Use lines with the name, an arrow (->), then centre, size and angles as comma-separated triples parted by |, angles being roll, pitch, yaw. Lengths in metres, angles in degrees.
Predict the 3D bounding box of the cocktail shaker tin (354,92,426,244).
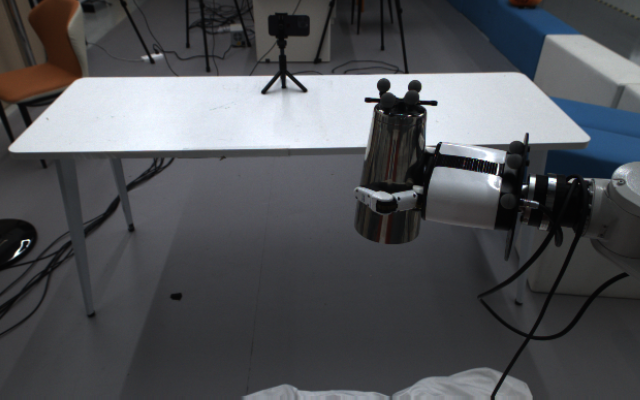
cocktail shaker tin -> 0.099, -0.039, 0.638 | 0.093, 0.170, 0.093 | 2, 28, -1
